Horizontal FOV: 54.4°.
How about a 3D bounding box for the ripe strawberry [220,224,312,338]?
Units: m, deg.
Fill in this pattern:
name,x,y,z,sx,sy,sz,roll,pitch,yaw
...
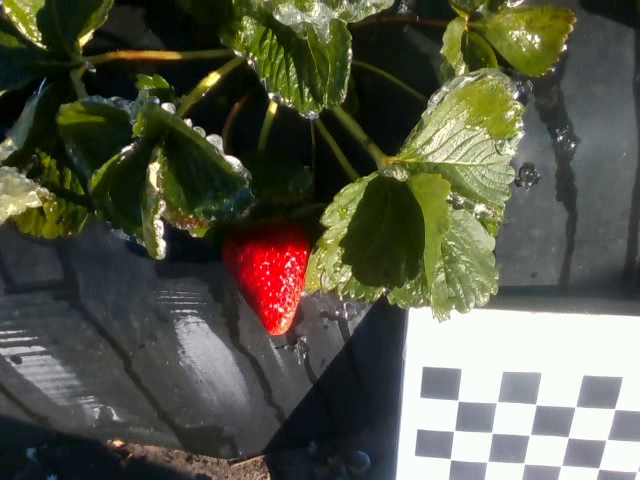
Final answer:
name,x,y,z,sx,sy,sz,roll,pitch,yaw
ripe strawberry,-0.021,0.018,0.266,0.041,0.053,0.047,-4,-14,7
